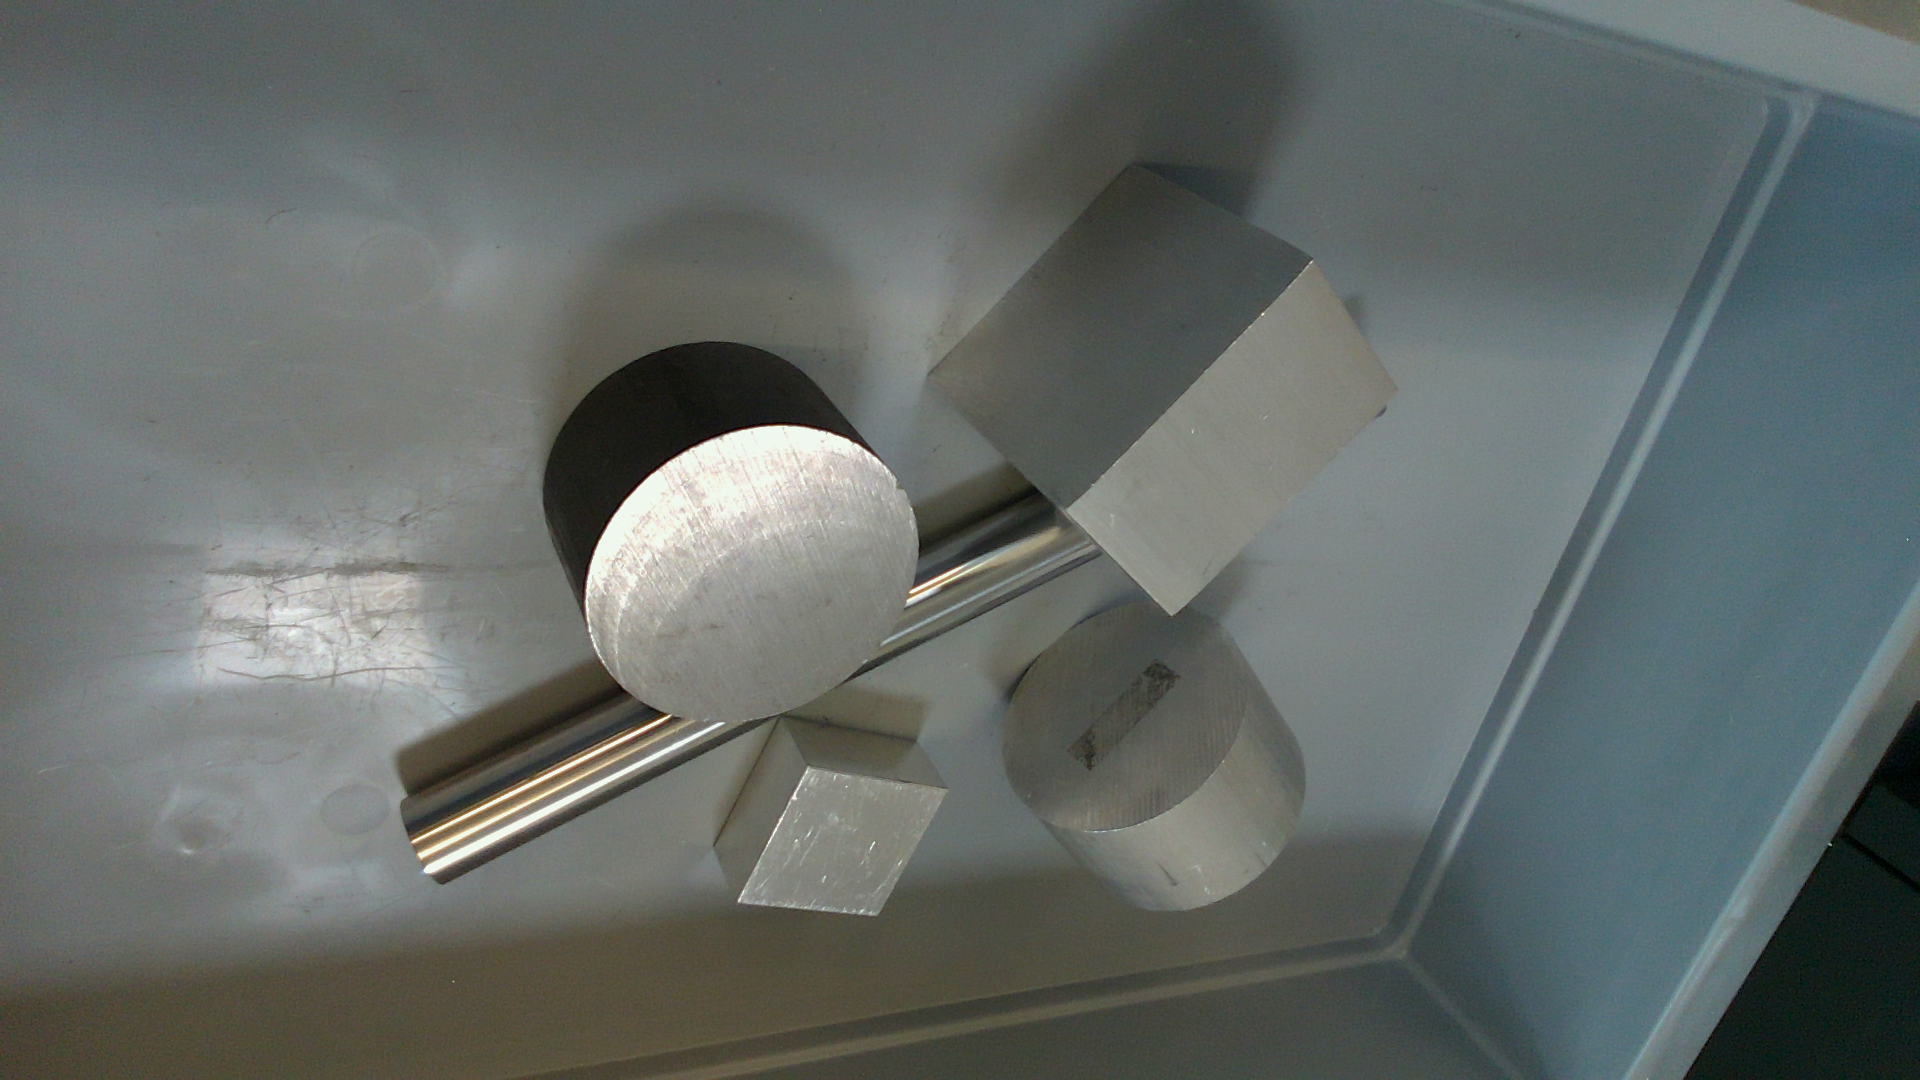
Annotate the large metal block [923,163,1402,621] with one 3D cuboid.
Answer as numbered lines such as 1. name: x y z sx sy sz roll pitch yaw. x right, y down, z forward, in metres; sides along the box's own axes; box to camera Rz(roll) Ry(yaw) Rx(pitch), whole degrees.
1. large metal block: 0.049 -0.040 0.355 0.080 0.080 0.050 -45 129 3

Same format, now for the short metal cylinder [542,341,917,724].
1. short metal cylinder: -0.057 -0.002 0.339 0.080 0.050 0.080 -14 124 -21

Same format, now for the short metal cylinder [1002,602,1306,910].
1. short metal cylinder: 0.060 0.066 0.426 0.080 0.080 0.050 -40 130 -1

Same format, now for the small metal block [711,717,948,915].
1. small metal block: -0.040 0.084 0.418 0.050 0.025 0.050 16 110 -35

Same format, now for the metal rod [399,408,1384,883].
1. metal rod: -0.009 0.015 0.392 0.300 0.025 0.025 -26 128 -12
